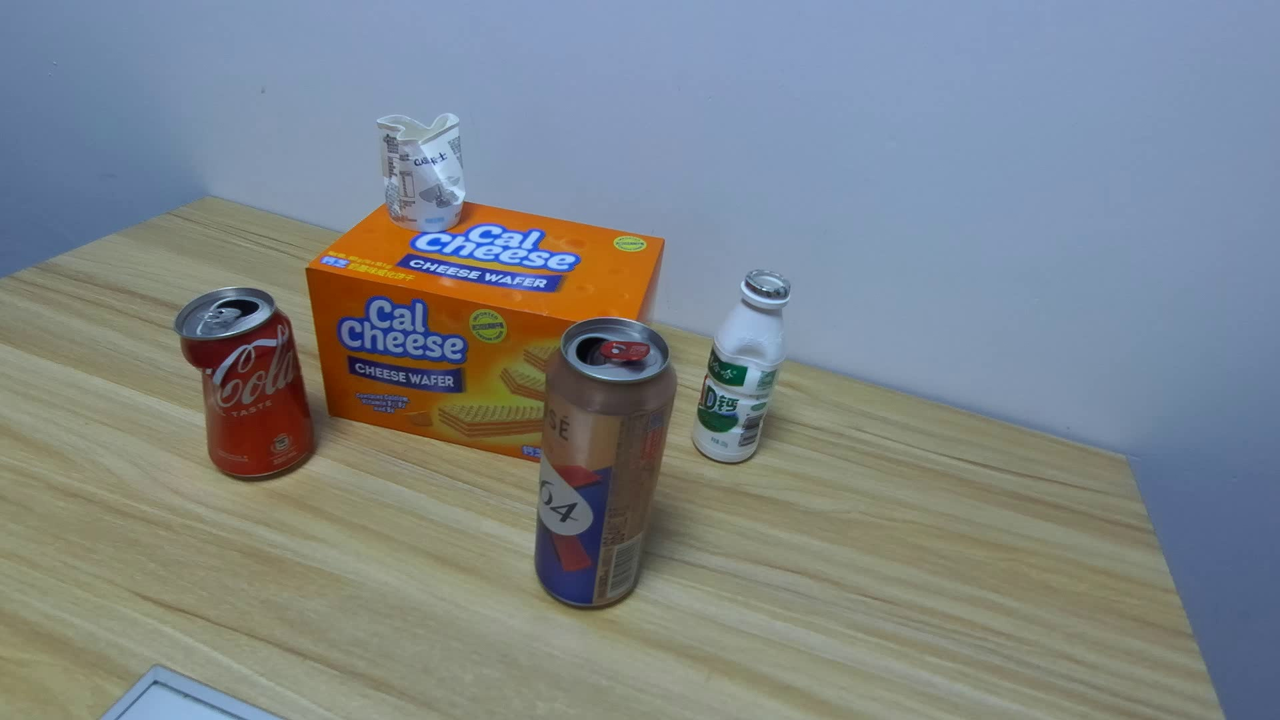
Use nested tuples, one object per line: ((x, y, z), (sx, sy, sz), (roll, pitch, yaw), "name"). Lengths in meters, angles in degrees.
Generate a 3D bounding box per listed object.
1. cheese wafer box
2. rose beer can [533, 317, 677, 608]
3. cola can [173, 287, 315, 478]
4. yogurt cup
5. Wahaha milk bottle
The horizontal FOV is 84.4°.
((-0.105, -0.027, 0.543), (0.222, 0.129, 0.148), (11, 36, 5), "cheese wafer box")
((-0.022, 0.063, 0.396), (0.069, 0.169, 0.068), (6, 35, -4), "rose beer can")
((-0.250, 0.017, 0.455), (0.066, 0.117, 0.072), (-10, 37, -27), "cola can")
((-0.158, -0.138, 0.515), (0.055, 0.072, 0.055), (-15, 44, -29), "yogurt cup")
((0.075, 0.012, 0.516), (0.053, 0.136, 0.053), (7, 34, -4), "Wahaha milk bottle")
